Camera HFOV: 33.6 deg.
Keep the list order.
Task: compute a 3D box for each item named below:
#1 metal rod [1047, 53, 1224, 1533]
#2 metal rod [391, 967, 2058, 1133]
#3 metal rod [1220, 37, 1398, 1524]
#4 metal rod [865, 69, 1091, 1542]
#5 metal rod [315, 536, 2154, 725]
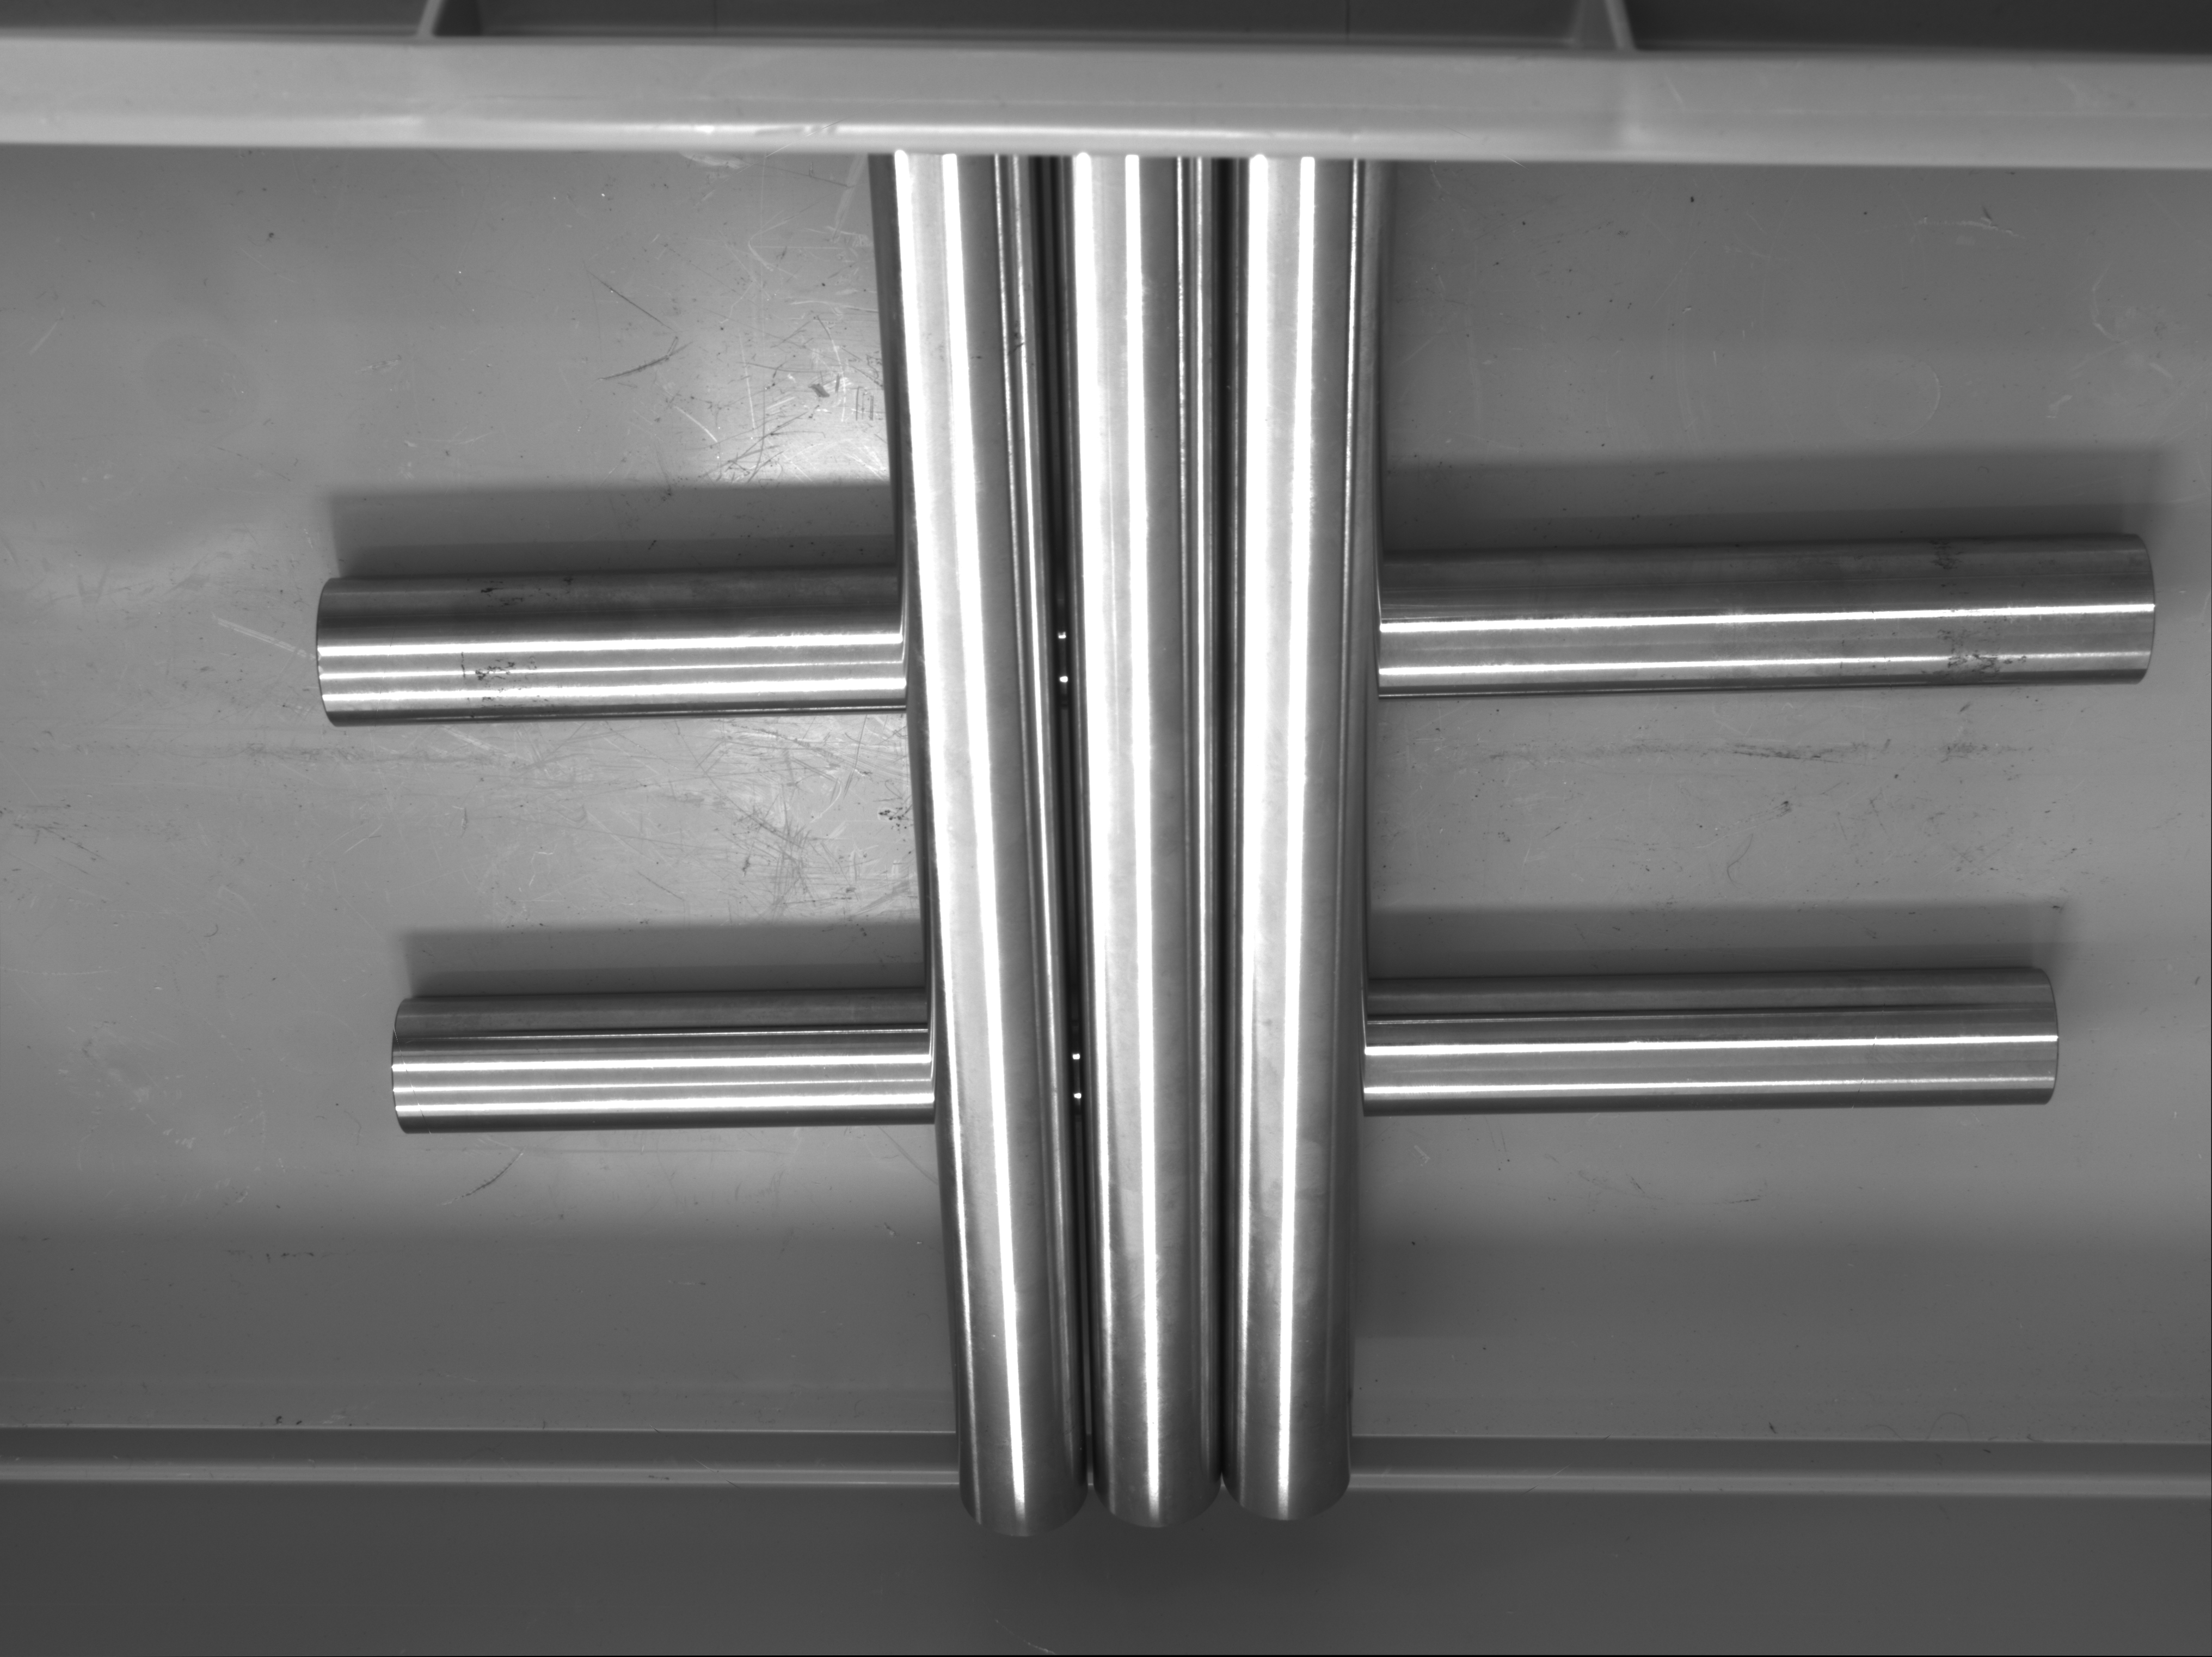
[{"bbox_3d":[0.007,0.012,0.614,0.025,0.025,0.300,-1,130,1],"label":"metal rod"},{"bbox_3d":[0.021,0.041,0.672,0.300,0.025,0.025,-1,130,1],"label":"metal rod"},{"bbox_3d":[0.032,0.010,0.612,0.025,0.025,0.300,-1,130,1],"label":"metal rod"},{"bbox_3d":[-0.018,0.014,0.615,0.025,0.025,0.300,-1,130,1],"label":"metal rod"},{"bbox_3d":[0.021,-0.033,0.611,0.300,0.025,0.025,-1,130,1],"label":"metal rod"}]
